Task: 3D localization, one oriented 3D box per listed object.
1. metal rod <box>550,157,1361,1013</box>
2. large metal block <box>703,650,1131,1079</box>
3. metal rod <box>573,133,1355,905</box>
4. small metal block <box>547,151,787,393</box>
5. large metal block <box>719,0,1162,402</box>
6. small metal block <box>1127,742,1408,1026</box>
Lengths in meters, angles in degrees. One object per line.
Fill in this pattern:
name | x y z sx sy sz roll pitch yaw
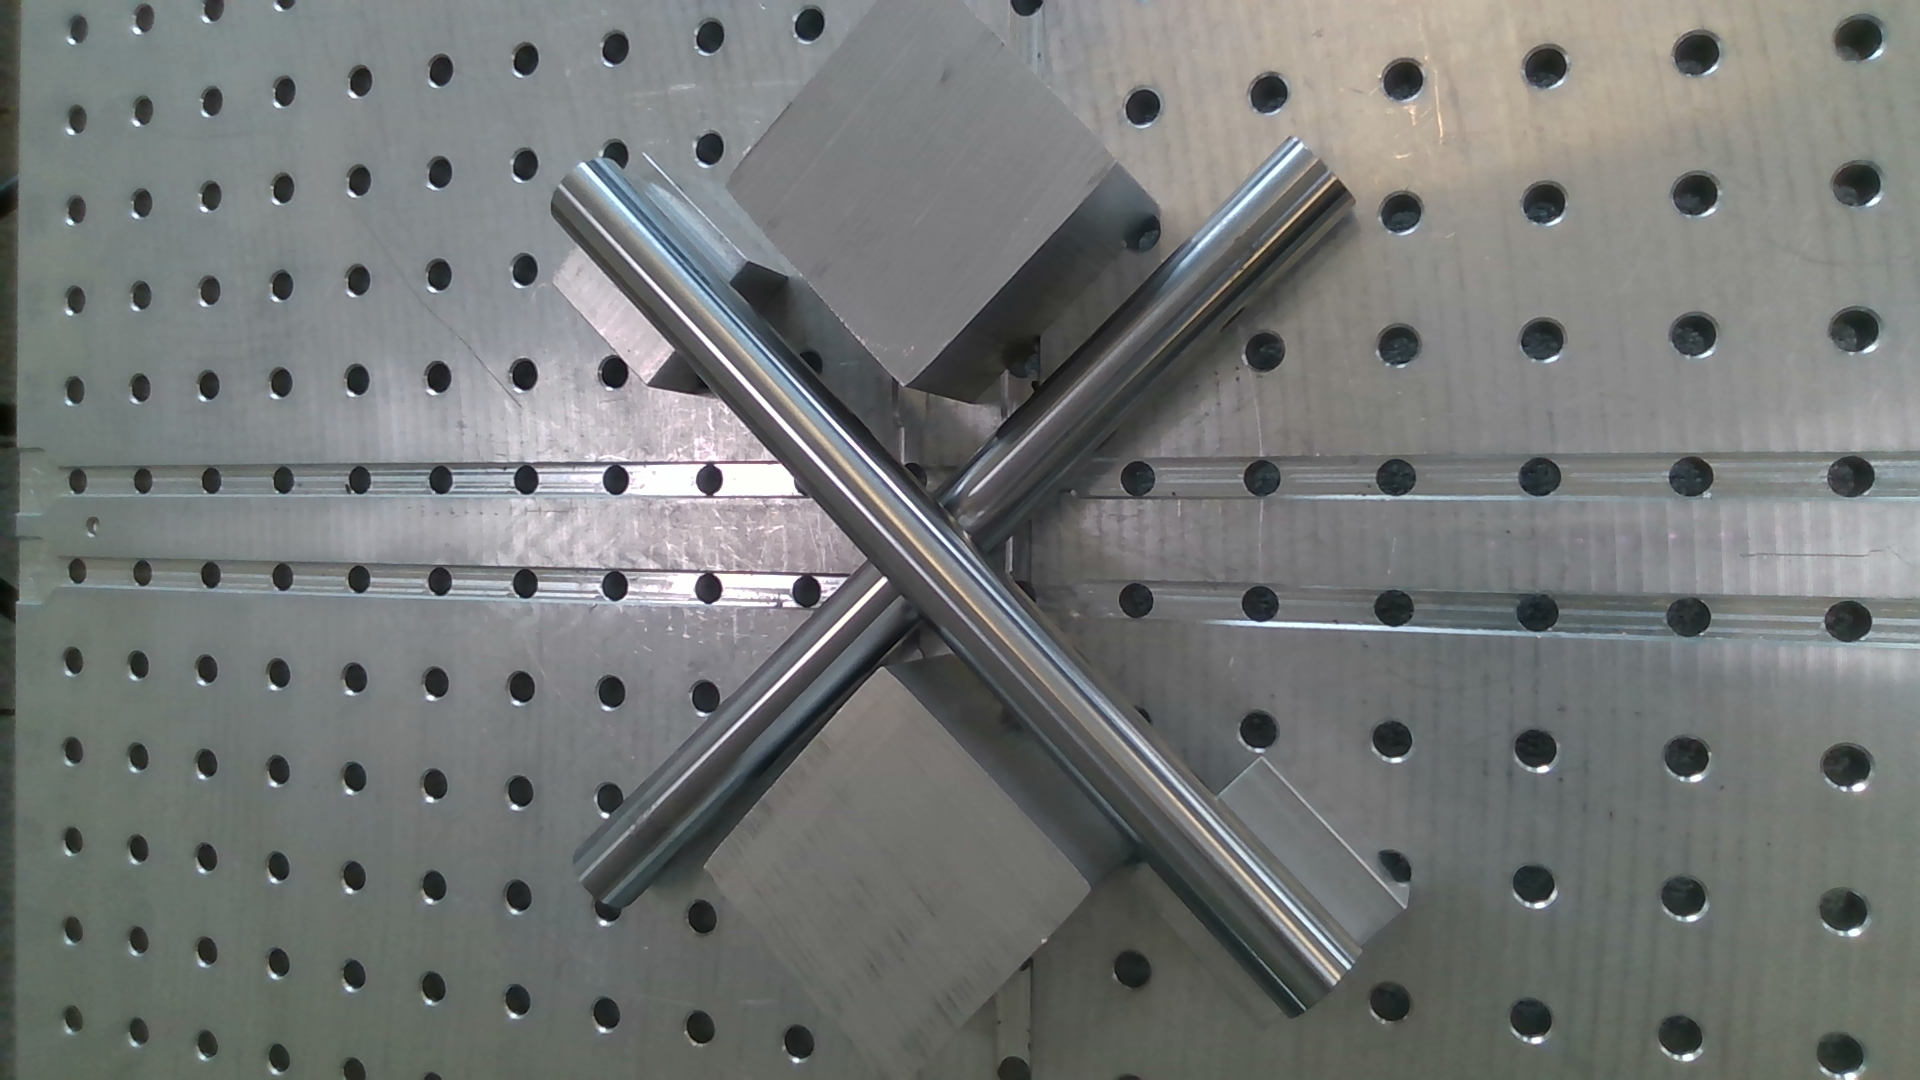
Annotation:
metal rod | -0.011 0.002 0.373 0.300 0.025 0.025 46 105 14
large metal block | -0.010 0.088 0.388 0.080 0.050 0.080 45 104 14
metal rod | -0.009 0.004 0.399 0.300 0.025 0.025 -44 76 15
small metal block | -0.091 -0.083 0.429 0.050 0.025 0.050 46 105 14
large metal block | -0.005 -0.097 0.384 0.080 0.050 0.080 -45 76 15
small metal block | 0.082 0.090 0.368 0.050 0.025 0.050 -46 76 14
